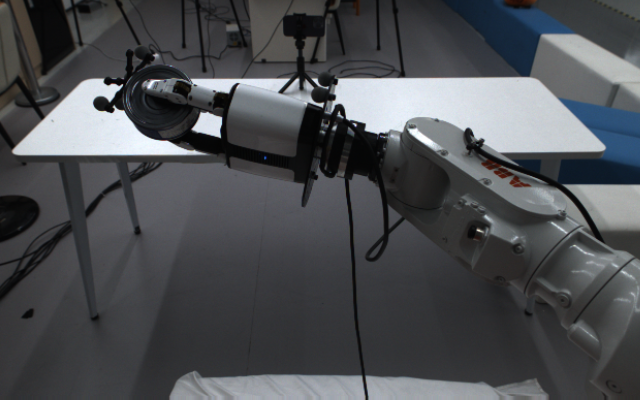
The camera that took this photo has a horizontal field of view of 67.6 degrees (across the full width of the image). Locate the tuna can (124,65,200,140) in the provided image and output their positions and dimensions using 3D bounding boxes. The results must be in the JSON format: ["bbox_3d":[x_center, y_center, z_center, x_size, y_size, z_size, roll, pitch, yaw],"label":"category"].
[{"bbox_3d":[-0.186,-0.116,0.582,0.085,0.034,0.085,1,79,-6],"label":"tuna can"}]
